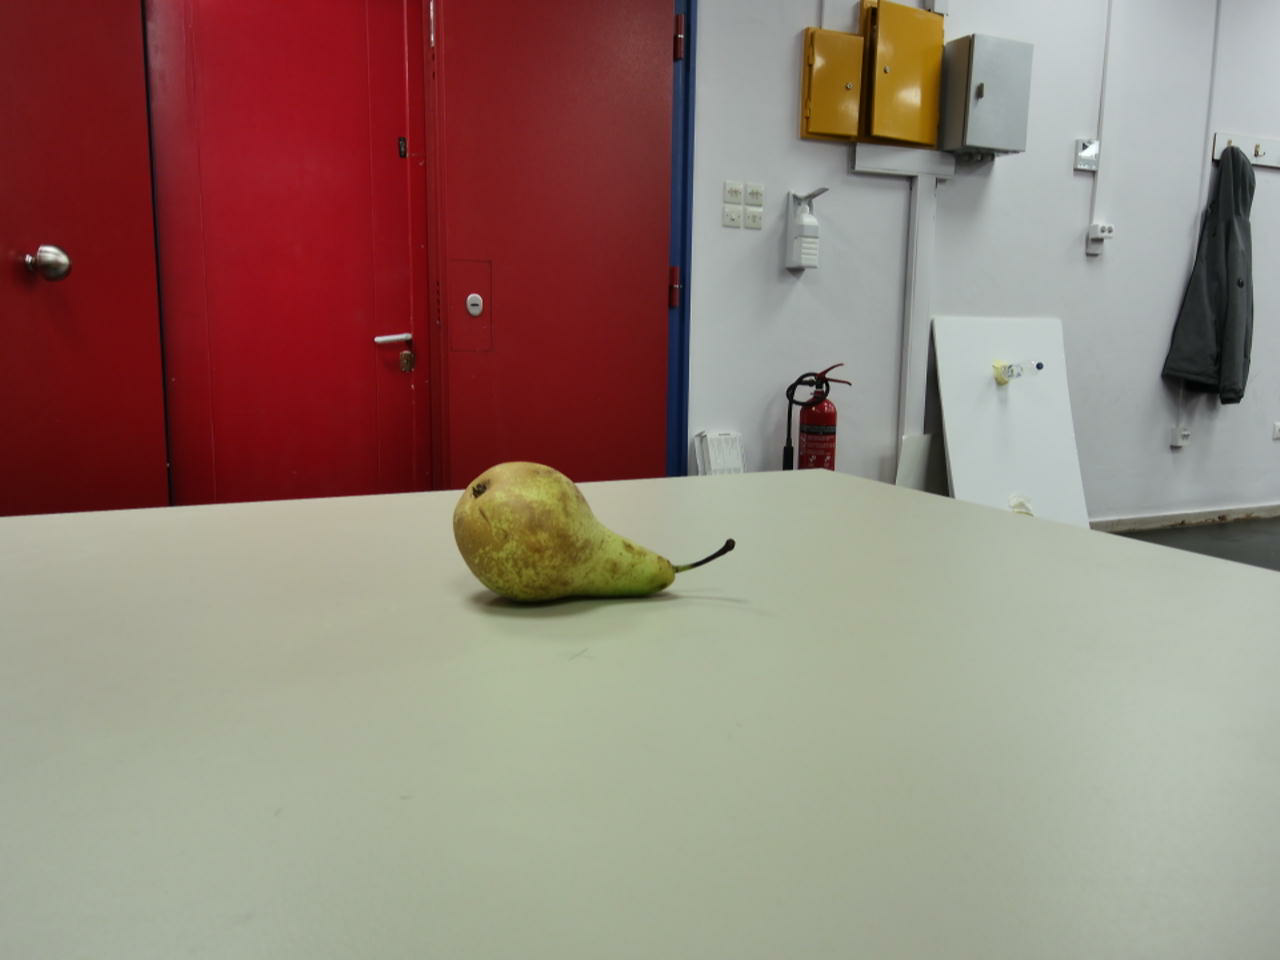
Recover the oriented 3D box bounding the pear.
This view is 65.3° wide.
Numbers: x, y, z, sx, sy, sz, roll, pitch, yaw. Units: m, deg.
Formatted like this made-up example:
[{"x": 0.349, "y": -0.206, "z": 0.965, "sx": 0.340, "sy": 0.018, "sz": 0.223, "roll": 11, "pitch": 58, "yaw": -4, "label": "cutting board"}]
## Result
[{"x": -0.029, "y": 0.027, "z": 0.544, "sx": 0.144, "sy": 0.075, "sz": 0.071, "roll": -3, "pitch": 7, "yaw": -17, "label": "pear"}]
